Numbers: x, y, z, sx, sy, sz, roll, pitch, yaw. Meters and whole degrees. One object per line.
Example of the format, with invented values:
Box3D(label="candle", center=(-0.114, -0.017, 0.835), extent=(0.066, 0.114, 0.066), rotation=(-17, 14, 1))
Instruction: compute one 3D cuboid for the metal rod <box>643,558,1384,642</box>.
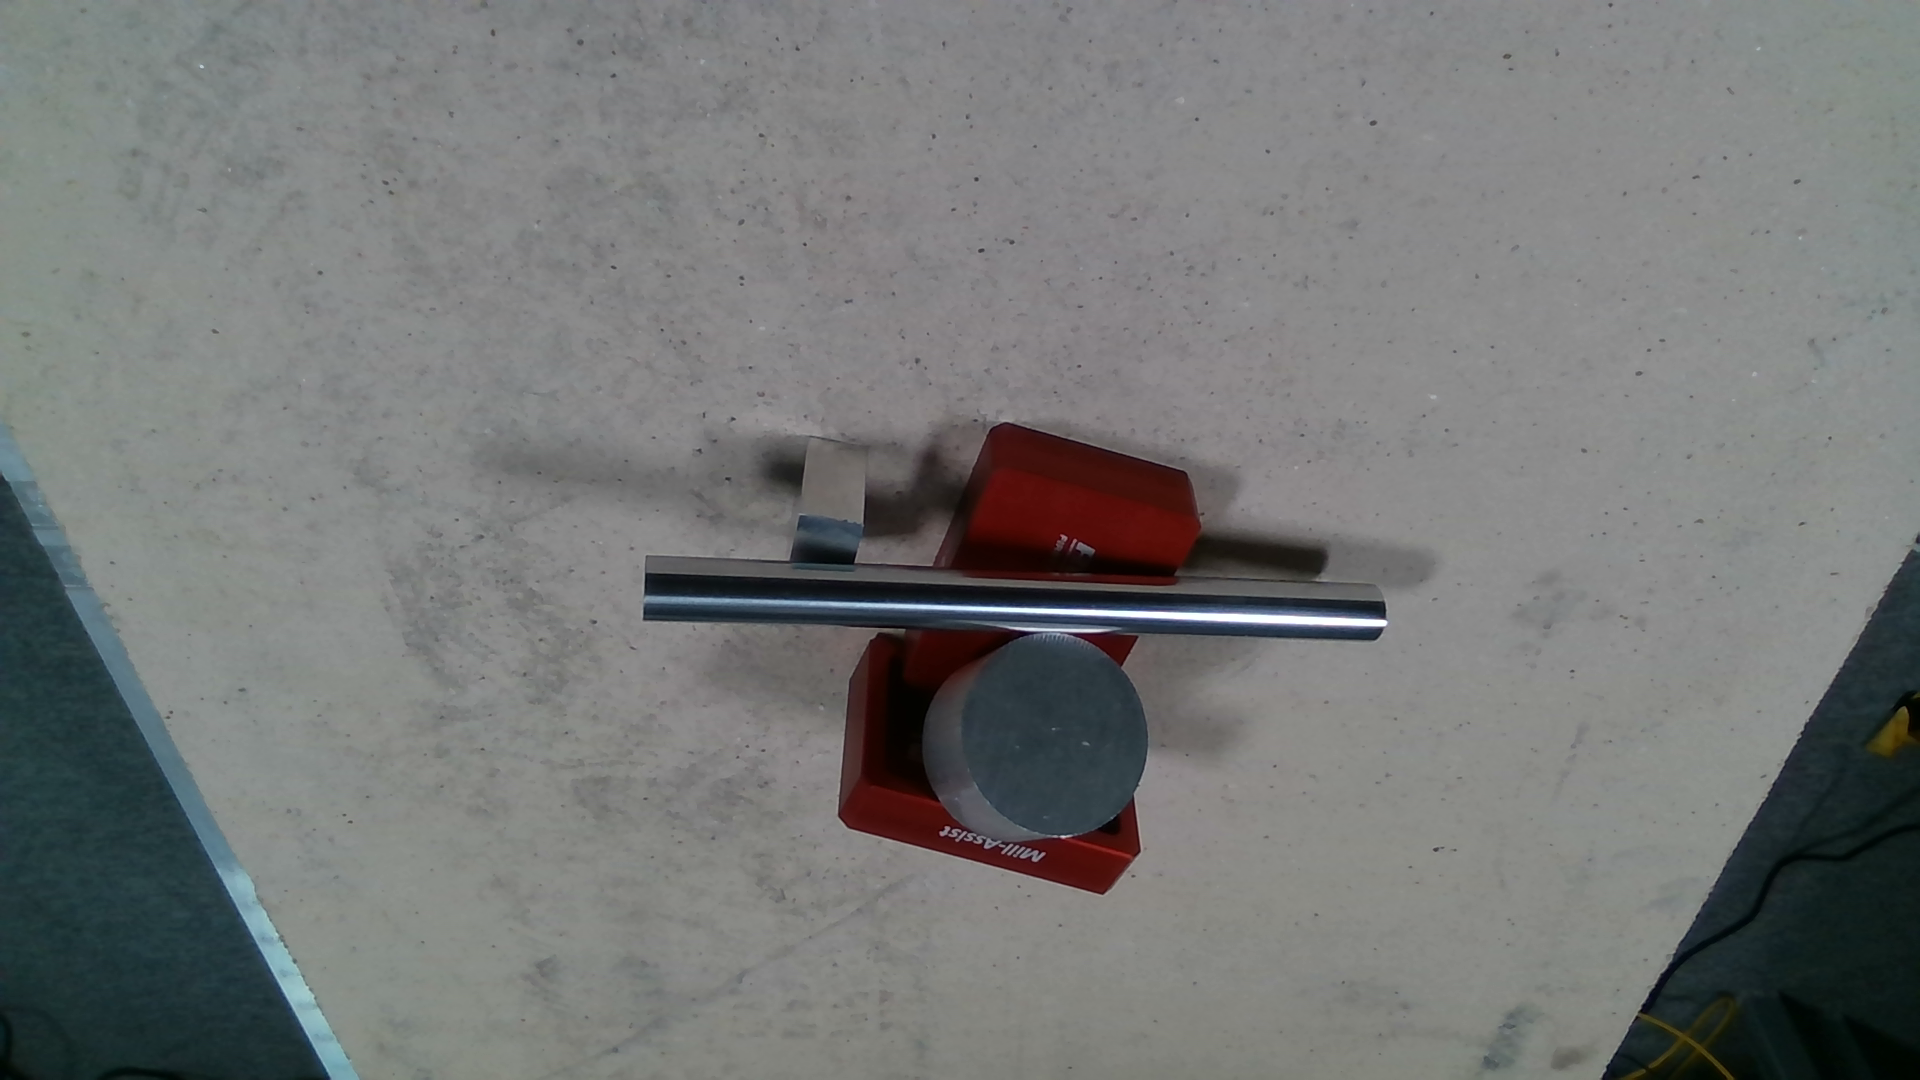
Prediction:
Box3D(label="metal rod", center=(0.028, 0.025, 0.549), extent=(0.300, 0.025, 0.025), rotation=(2, 131, -14))

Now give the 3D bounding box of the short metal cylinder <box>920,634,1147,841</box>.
Box3D(label="short metal cylinder", center=(0.029, 0.082, 0.565), extent=(0.080, 0.080, 0.050), rotation=(18, 160, -15))

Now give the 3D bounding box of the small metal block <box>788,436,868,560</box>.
Box3D(label="small metal block", center=(-0.055, -0.005, 0.558), extent=(0.025, 0.050, 0.050), rotation=(10, 129, -8))

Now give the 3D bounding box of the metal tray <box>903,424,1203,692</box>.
Box3D(label="metal tray", center=(0.036, 0.019, 0.591), extent=(0.090, 0.030, 0.130), rotation=(14, 129, -12))

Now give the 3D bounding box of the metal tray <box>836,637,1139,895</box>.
Box3D(label="metal tray", center=(0.013, 0.101, 0.622), extent=(0.130, 0.090, 0.030), rotation=(18, 128, -14))
